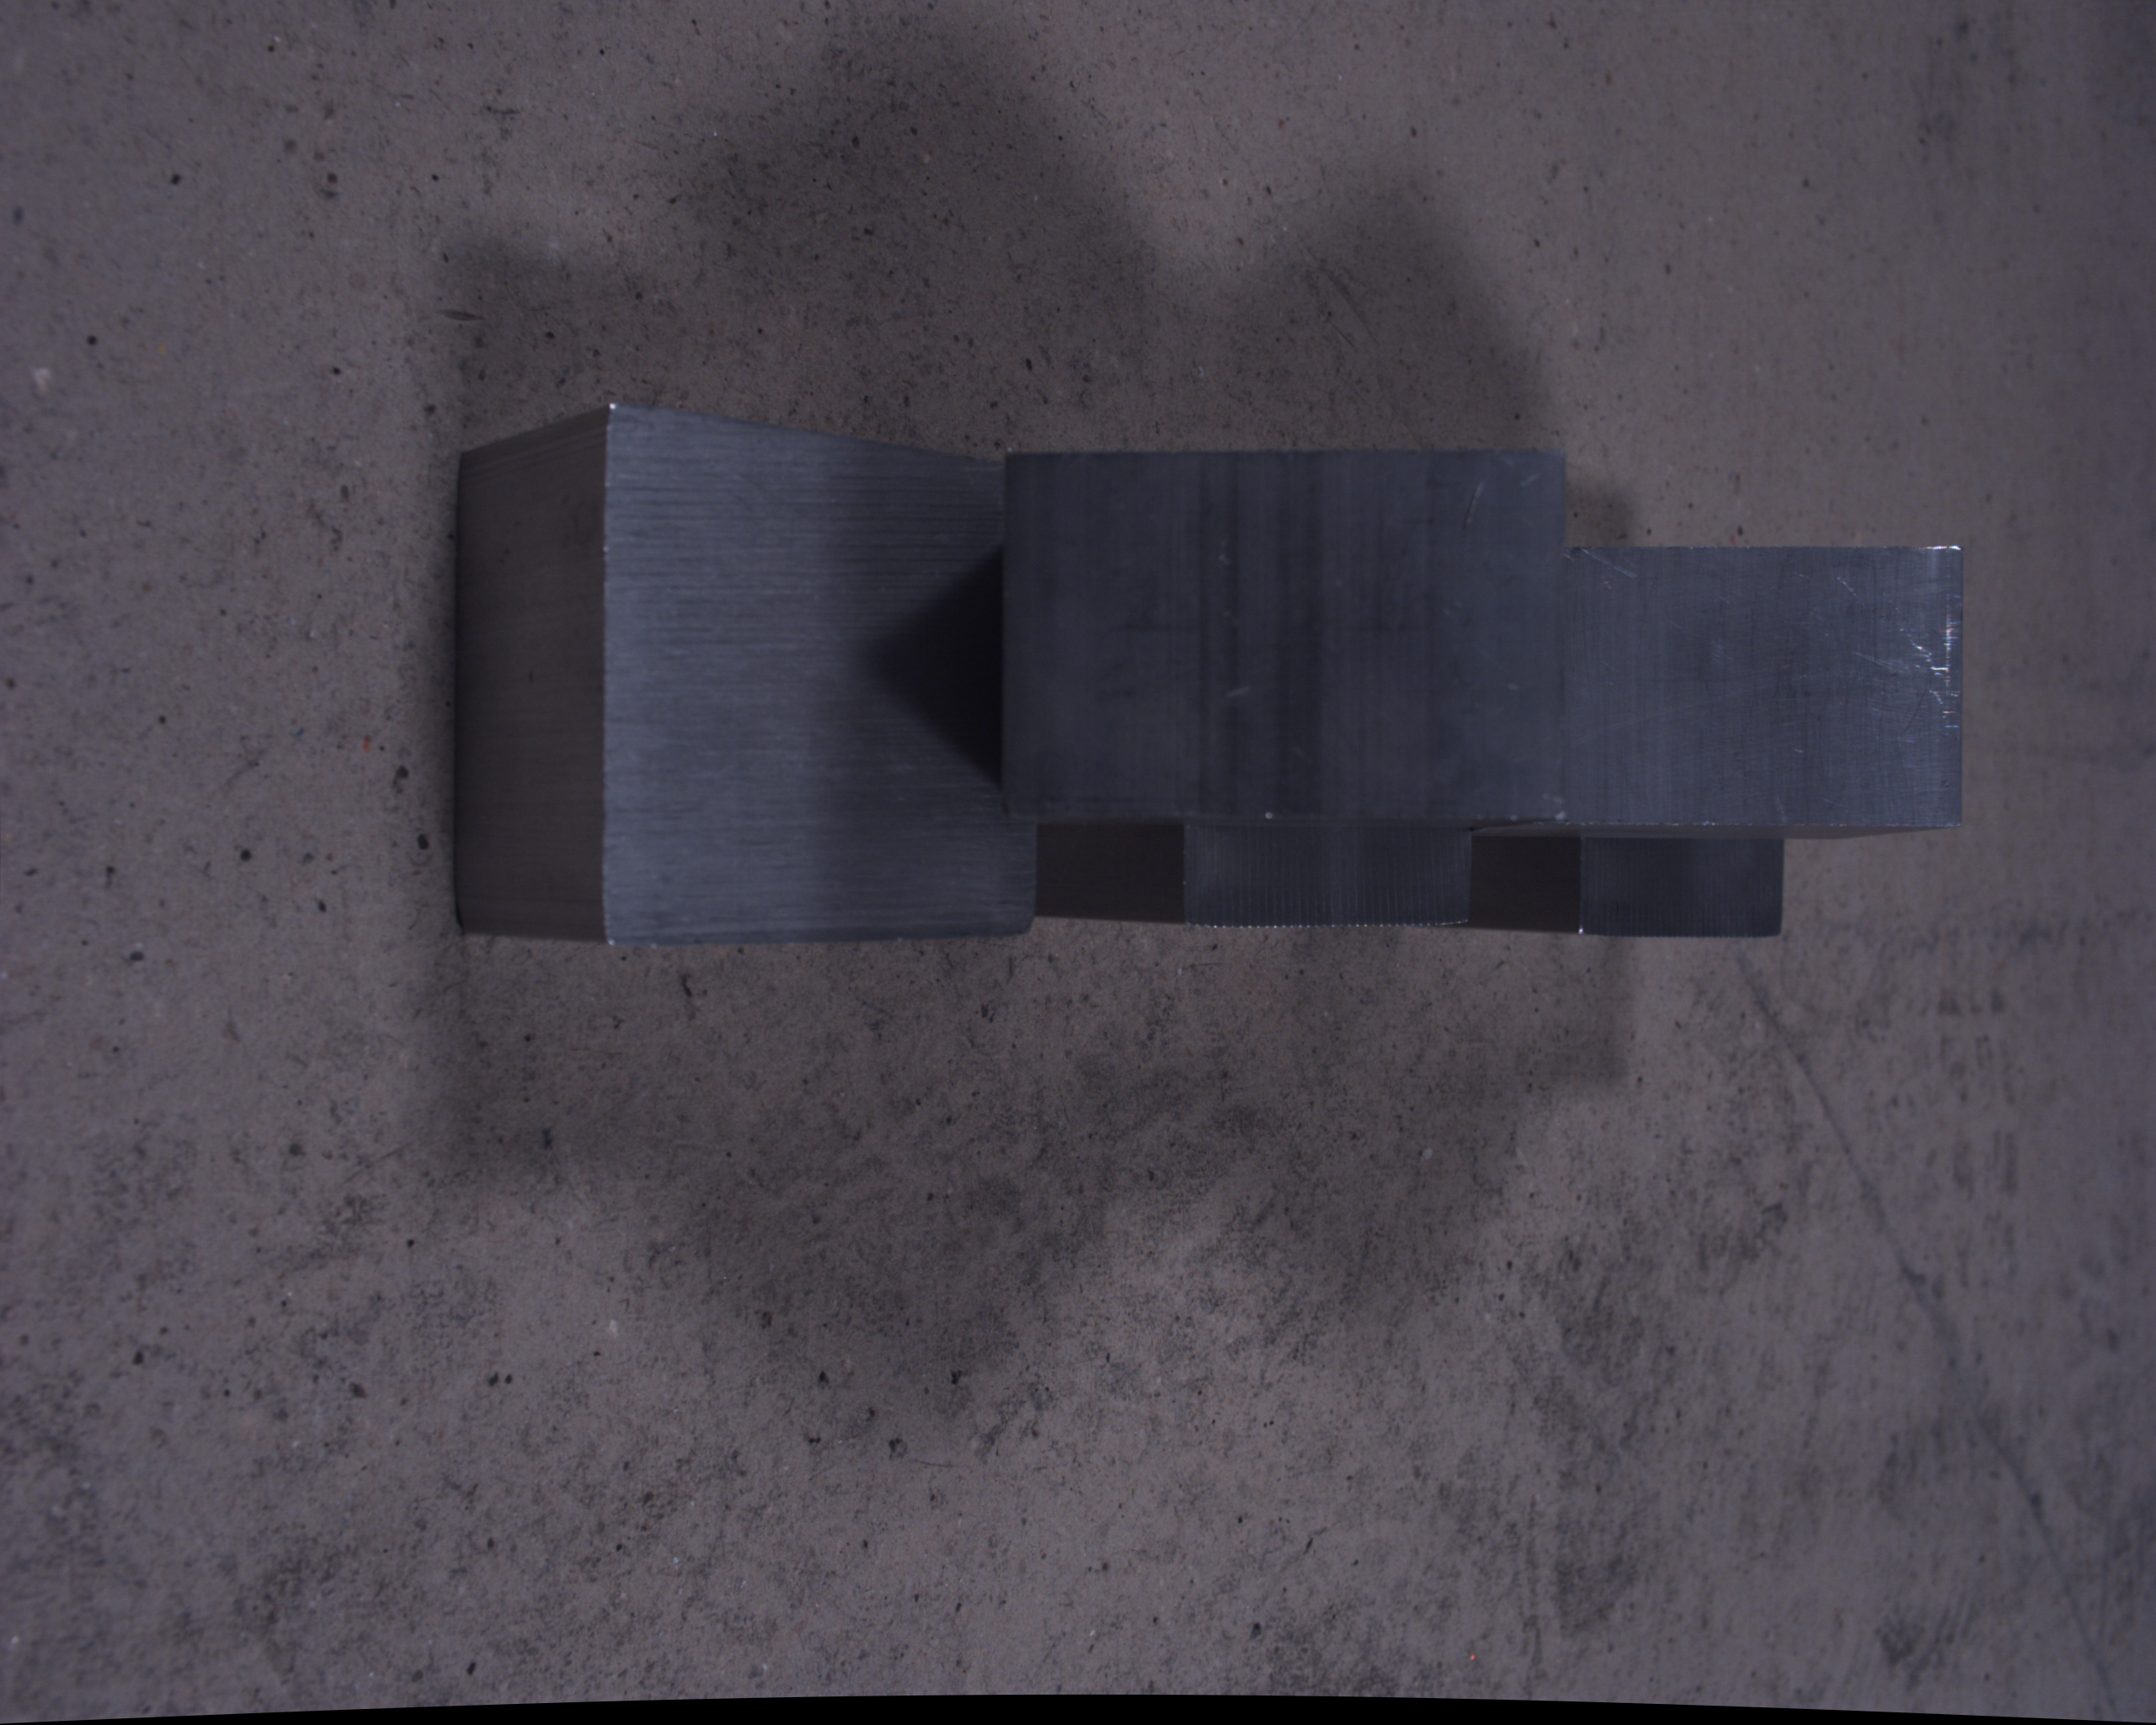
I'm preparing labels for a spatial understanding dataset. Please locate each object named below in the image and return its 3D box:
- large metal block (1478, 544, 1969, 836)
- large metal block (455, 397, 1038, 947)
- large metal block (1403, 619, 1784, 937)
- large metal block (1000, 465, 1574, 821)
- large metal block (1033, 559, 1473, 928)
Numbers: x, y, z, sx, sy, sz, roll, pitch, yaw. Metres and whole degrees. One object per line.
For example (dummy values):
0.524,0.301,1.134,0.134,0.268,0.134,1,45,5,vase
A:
0.121,-0.031,0.412,0.080,0.080,0.050,1,89,4,large metal block
-0.054,-0.028,0.346,0.081,0.050,0.079,0,90,-40,large metal block
0.124,-0.023,0.497,0.081,0.050,0.079,2,89,-40,large metal block
0.032,-0.031,0.334,0.080,0.080,0.050,-11,101,-85,large metal block
0.034,-0.028,0.421,0.081,0.050,0.079,1,90,-40,large metal block
